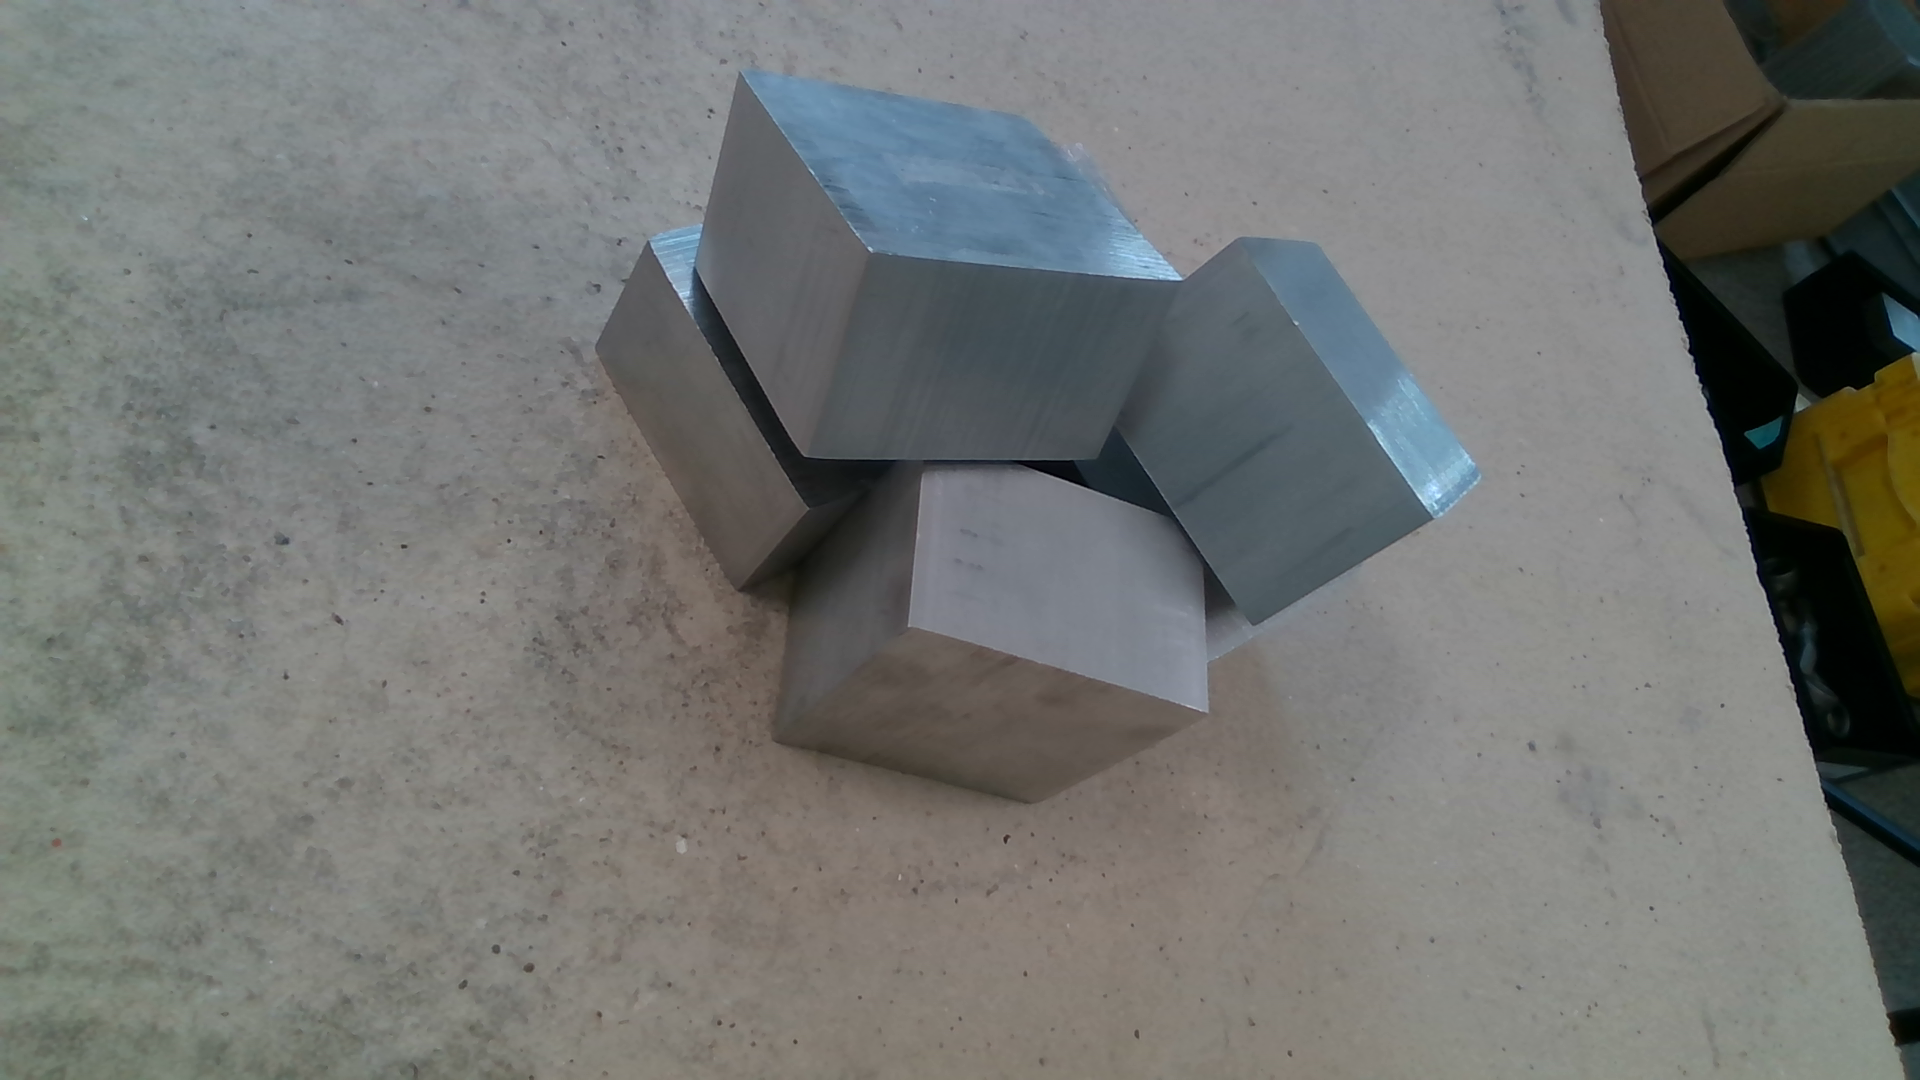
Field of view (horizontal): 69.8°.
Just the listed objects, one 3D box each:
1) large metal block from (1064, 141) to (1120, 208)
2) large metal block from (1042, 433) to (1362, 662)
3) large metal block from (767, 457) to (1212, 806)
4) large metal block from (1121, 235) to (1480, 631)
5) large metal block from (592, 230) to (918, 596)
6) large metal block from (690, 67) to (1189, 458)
[{"bbox_3d":[0.017,-0.069,0.426,0.080,0.050,0.080,-25,80,-38],"label":"large metal block"},{"bbox_3d":[0.061,-0.003,0.414,0.080,0.050,0.080,-25,81,-38],"label":"large metal block"},{"bbox_3d":[0.006,0.024,0.349,0.080,0.080,0.050,17,57,-23],"label":"large metal block"},{"bbox_3d":[0.087,-0.031,0.362,0.080,0.050,0.080,58,28,7],"label":"large metal block"},{"bbox_3d":[-0.040,-0.042,0.377,0.080,0.050,0.080,-25,80,-38],"label":"large metal block"},{"bbox_3d":[-0.008,-0.064,0.323,0.080,0.050,0.080,-2,42,-32],"label":"large metal block"}]
